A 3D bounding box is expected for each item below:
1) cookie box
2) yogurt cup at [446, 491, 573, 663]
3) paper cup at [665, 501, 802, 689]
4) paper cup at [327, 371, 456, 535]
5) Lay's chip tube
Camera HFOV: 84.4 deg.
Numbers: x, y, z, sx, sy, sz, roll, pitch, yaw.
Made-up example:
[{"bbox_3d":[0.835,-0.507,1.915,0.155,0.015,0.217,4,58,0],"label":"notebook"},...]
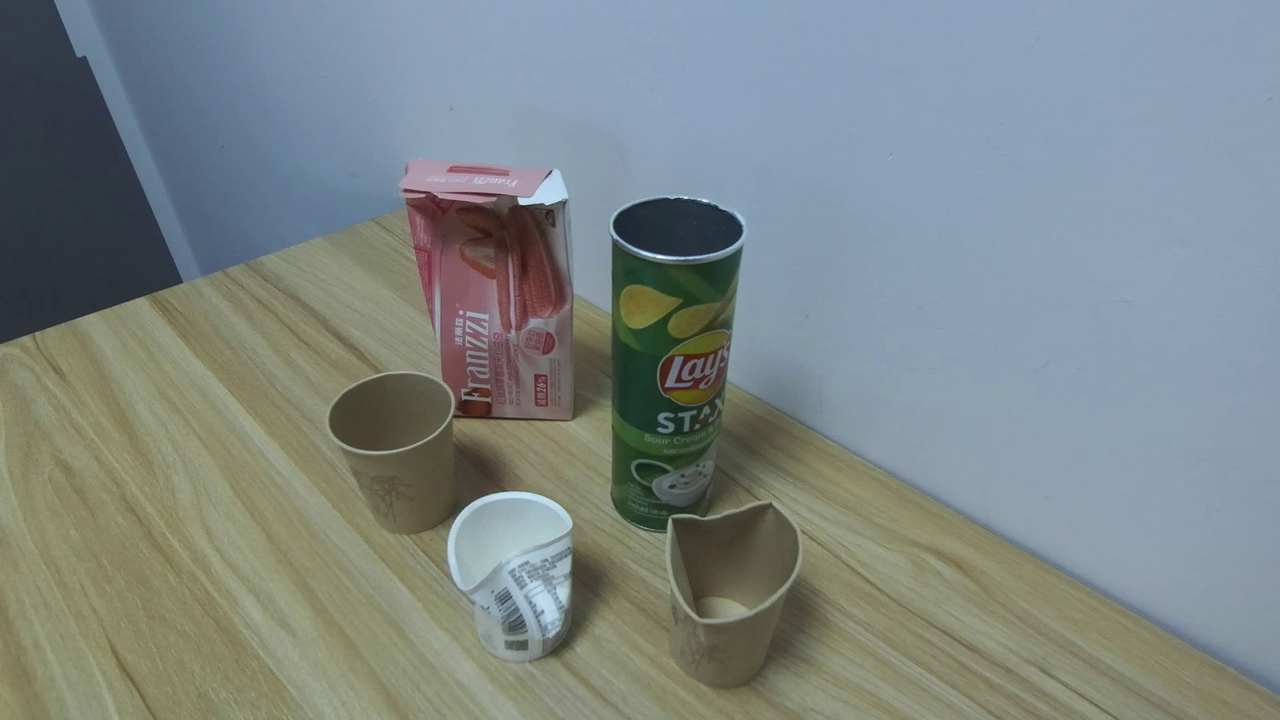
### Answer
[{"bbox_3d":[-0.100,-0.040,0.495,0.118,0.184,0.055,5,37,6],"label":"cookie box"},{"bbox_3d":[-0.067,0.119,0.384,0.067,0.070,0.067,0,40,0],"label":"yogurt cup"},{"bbox_3d":[0.048,0.127,0.368,0.072,0.084,0.066,-8,39,-11],"label":"paper cup"},{"bbox_3d":[-0.148,0.062,0.442,0.075,0.082,0.075,1,37,0],"label":"paper cup"},{"bbox_3d":[0.018,0.010,0.414,0.071,0.203,0.071,1,38,-1],"label":"Lay's chip tube"}]
